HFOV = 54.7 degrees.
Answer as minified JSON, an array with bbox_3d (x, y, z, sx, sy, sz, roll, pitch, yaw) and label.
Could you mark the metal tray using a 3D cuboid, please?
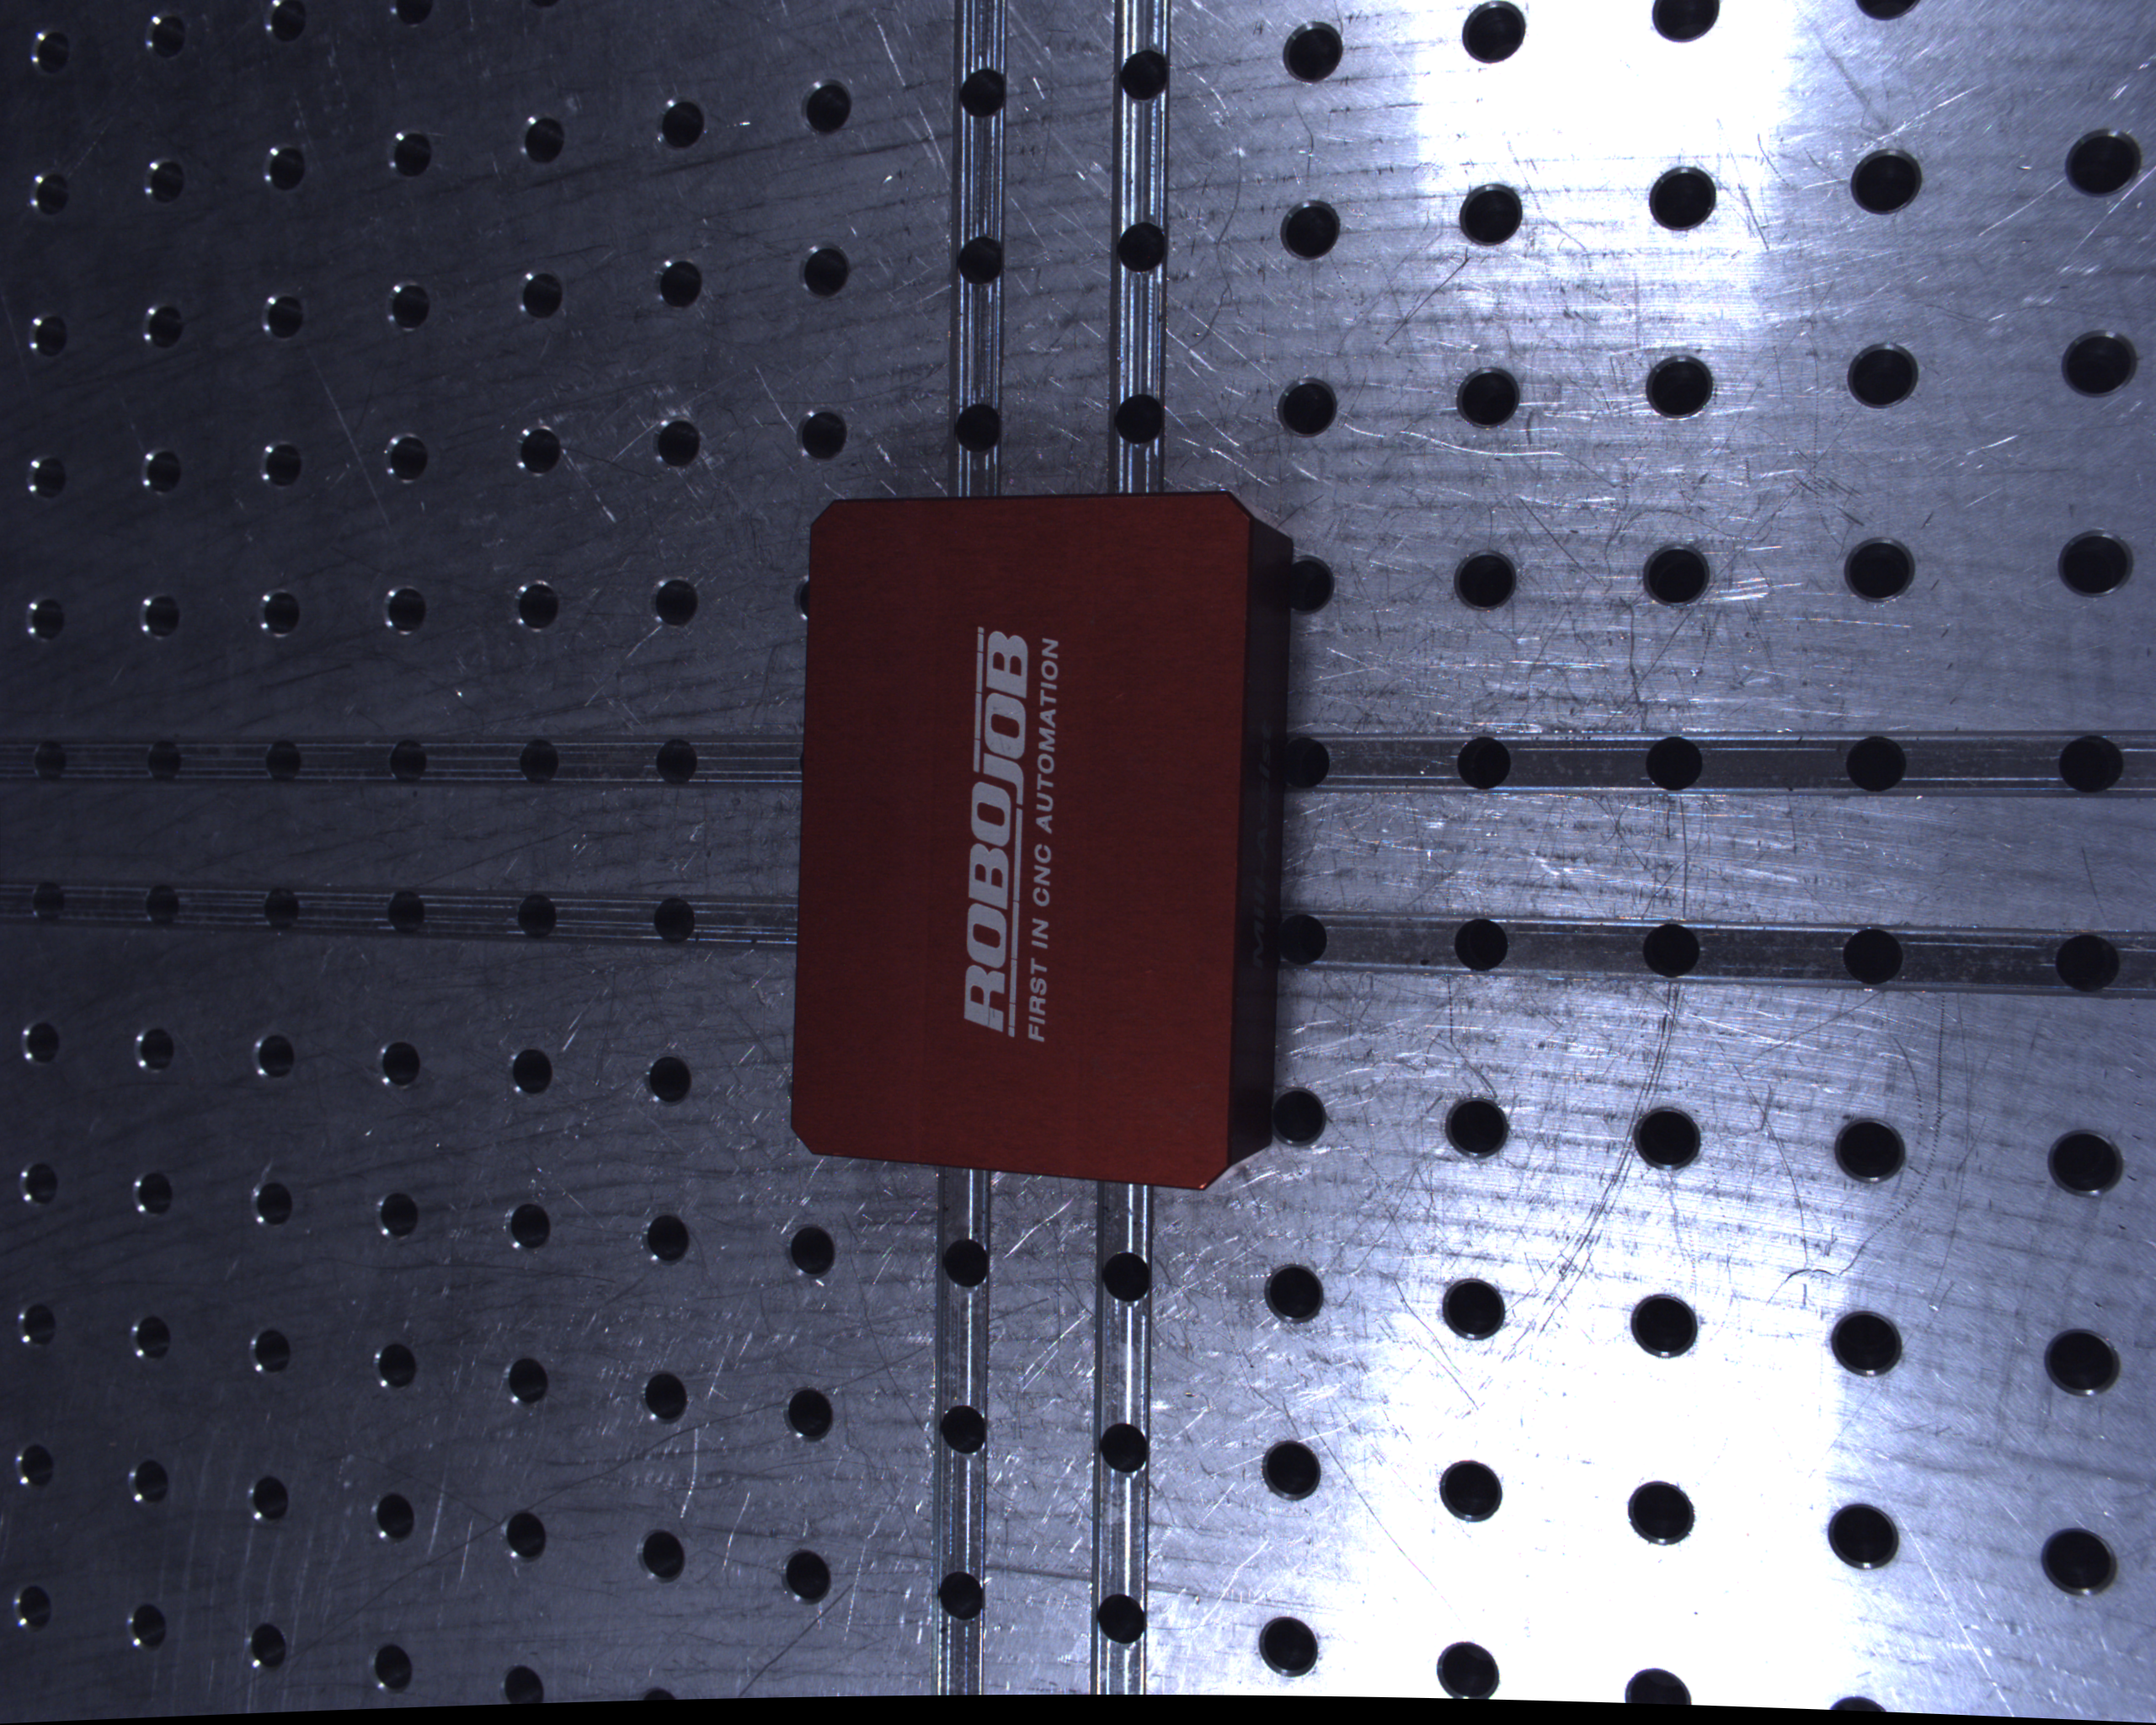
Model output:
[{"bbox_3d":[-0.008,-0.006,0.411,0.090,0.030,0.129,2,91,19],"label":"metal tray"}]
